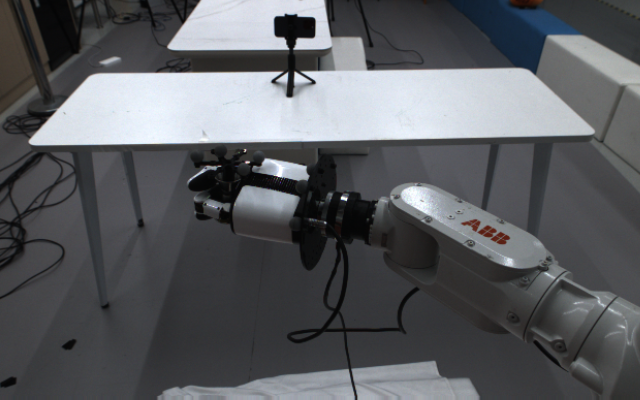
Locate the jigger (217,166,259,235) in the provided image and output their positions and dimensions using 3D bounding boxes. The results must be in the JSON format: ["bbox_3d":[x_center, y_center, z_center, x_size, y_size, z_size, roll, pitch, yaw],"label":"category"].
[{"bbox_3d":[-0.123,-0.007,0.681,0.043,0.071,0.043,4,31,-2],"label":"jigger"}]
